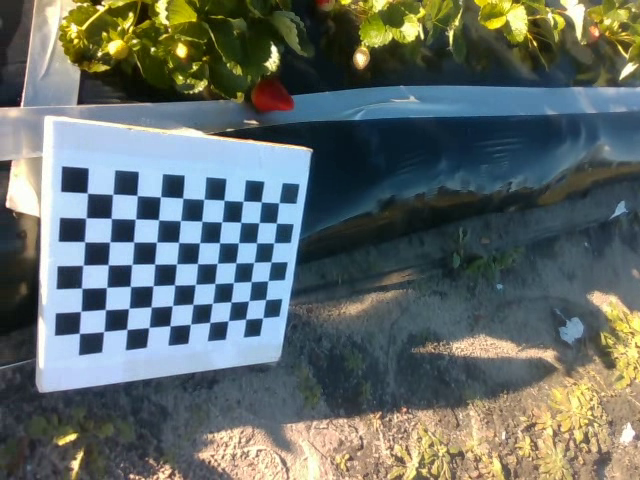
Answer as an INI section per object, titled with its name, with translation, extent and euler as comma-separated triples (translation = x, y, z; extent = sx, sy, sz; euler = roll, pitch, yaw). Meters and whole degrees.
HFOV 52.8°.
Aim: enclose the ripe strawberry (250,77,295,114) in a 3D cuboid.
[ripe strawberry]
translation = -0.054, -0.166, 0.733
extent = 0.063, 0.045, 0.048
euler = 29, -2, 23
